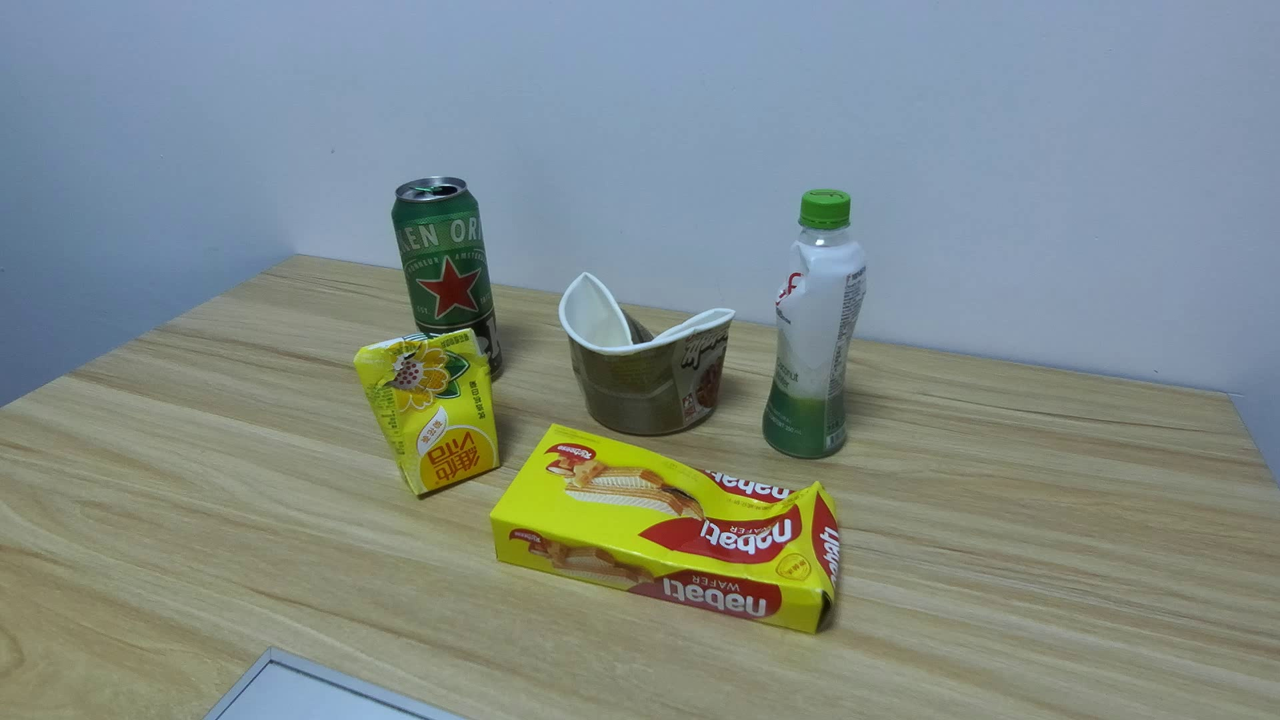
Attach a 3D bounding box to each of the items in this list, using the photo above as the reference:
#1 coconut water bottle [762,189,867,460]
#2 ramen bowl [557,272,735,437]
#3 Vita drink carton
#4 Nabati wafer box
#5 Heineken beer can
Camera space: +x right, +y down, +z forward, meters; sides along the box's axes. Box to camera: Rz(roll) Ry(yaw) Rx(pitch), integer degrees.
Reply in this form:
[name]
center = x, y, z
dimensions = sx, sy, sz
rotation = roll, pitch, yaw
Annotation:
[coconut water bottle]
center = 0.122, -0.024, 0.493
dimensions = 0.069, 0.186, 0.069
rotation = -2, 29, 1
[ramen bowl]
center = -0.001, -0.006, 0.559
dimensions = 0.137, 0.098, 0.137
rotation = -2, 31, 2
[Vita drink carton]
center = -0.148, 0.032, 0.502
dimensions = 0.087, 0.108, 0.042
rotation = -17, 22, -28
[Nabati wafer box]
center = 0.022, 0.098, 0.444
dimensions = 0.204, 0.042, 0.107
rotation = 10, 35, 15
[Heineken beer can]
center = -0.158, -0.060, 0.589
dimensions = 0.067, 0.169, 0.067
rotation = -2, 31, 1
